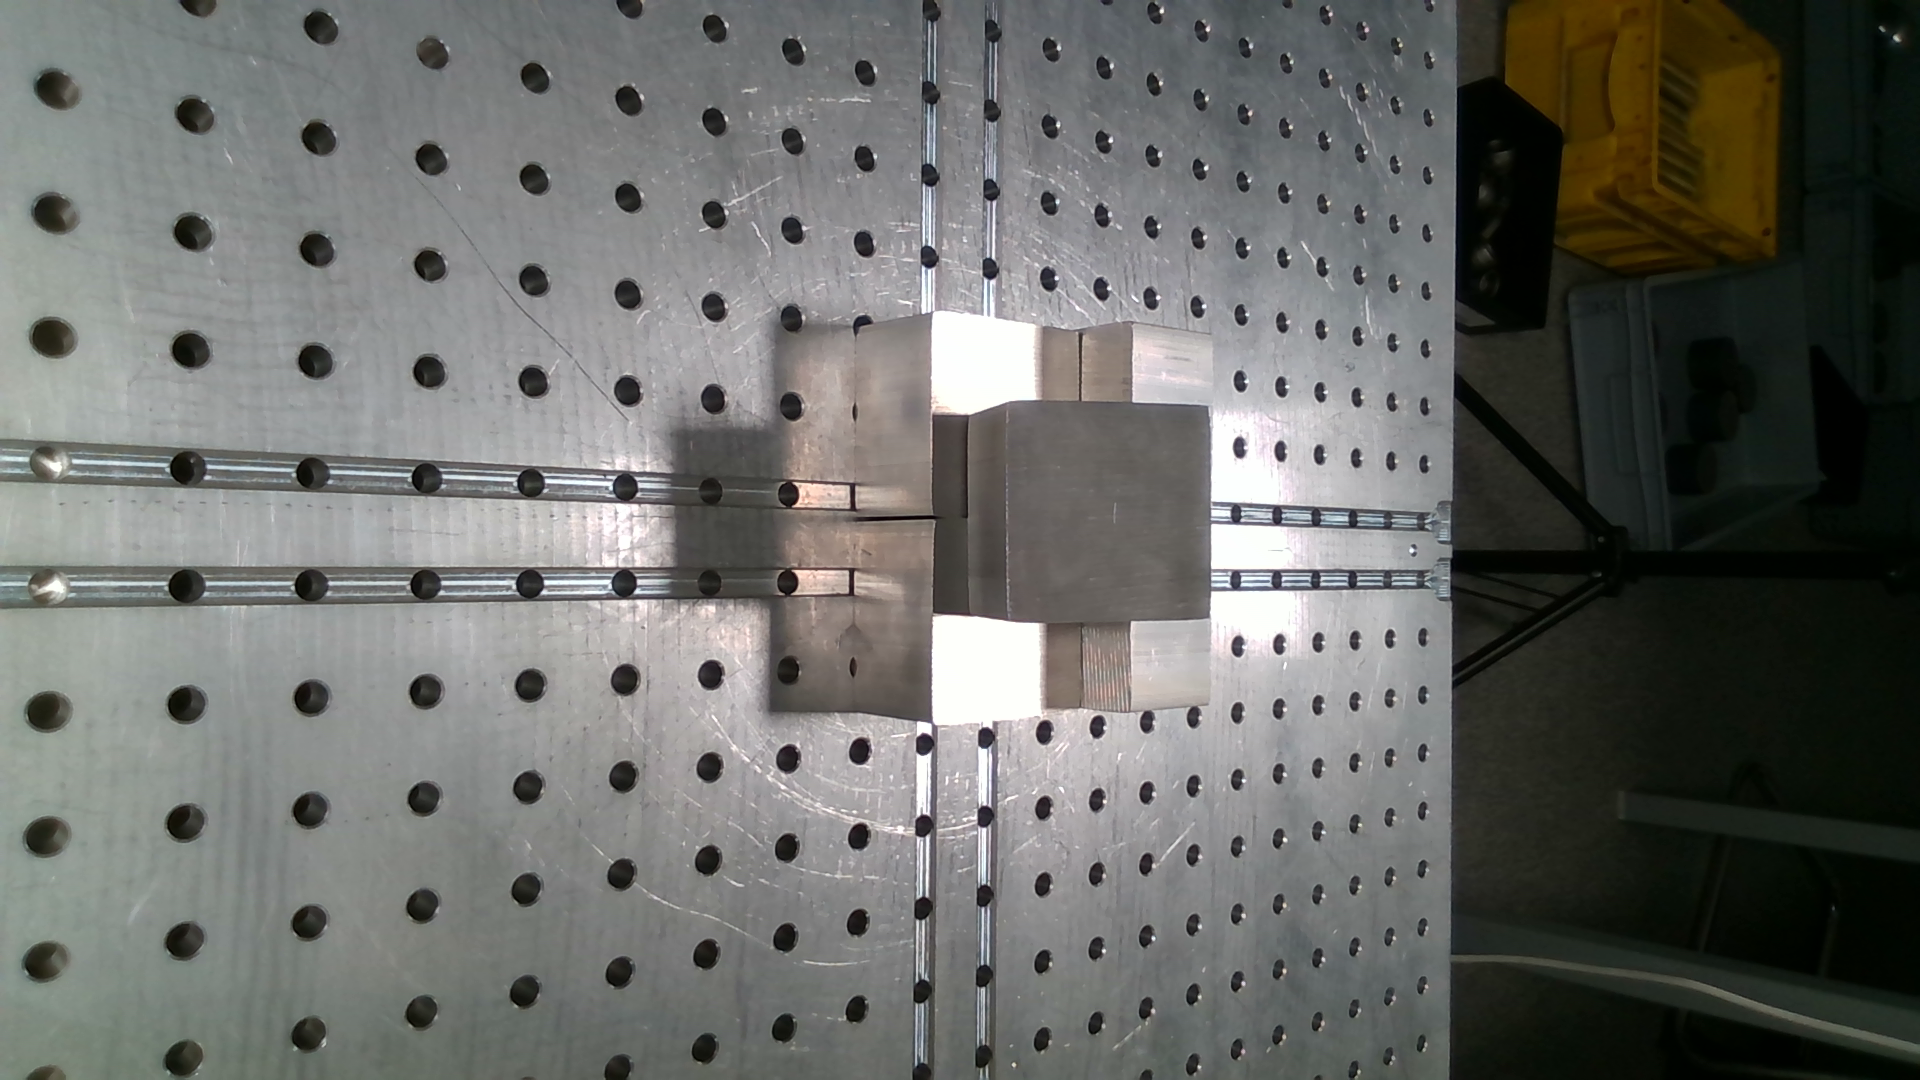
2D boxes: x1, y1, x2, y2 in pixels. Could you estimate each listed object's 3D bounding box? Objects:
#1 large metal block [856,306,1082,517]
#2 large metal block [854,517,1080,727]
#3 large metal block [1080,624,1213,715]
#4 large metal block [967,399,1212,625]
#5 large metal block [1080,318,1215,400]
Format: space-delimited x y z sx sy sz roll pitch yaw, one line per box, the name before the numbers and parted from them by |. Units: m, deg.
large metal block | 0.004 -0.049 0.571 0.080 0.050 0.080 1 89 -40
large metal block | 0.004 0.032 0.570 0.080 0.050 0.080 1 89 -40
large metal block | 0.063 0.031 0.602 0.050 0.080 0.080 1 89 -40
large metal block | 0.048 -0.010 0.523 0.080 0.050 0.080 0 90 -16
large metal block | 0.064 -0.049 0.603 0.050 0.080 0.080 1 89 -40
